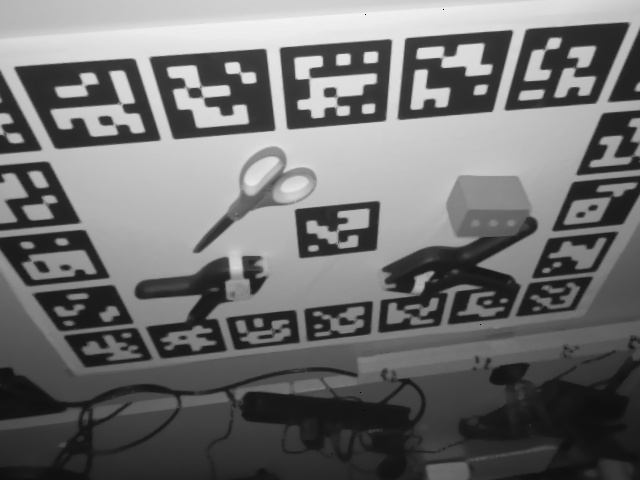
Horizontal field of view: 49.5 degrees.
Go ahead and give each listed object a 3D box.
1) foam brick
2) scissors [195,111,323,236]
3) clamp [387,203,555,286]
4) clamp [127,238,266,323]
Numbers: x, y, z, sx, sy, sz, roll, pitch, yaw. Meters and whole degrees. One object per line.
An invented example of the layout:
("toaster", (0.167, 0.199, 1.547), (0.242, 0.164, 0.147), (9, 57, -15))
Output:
("foam brick", (0.202, -0.064, 0.784), (0.079, 0.051, 0.052), (-4, 139, -13))
("scissors", (-0.080, -0.059, 0.757), (0.088, 0.016, 0.199), (29, 130, -27))
("clamp", (0.187, 0.020, 0.890), (0.203, 0.037, 0.164), (-8, 144, 0))
("clamp", (-0.138, 0.041, 0.862), (0.163, 0.037, 0.122), (-24, 131, 17))
